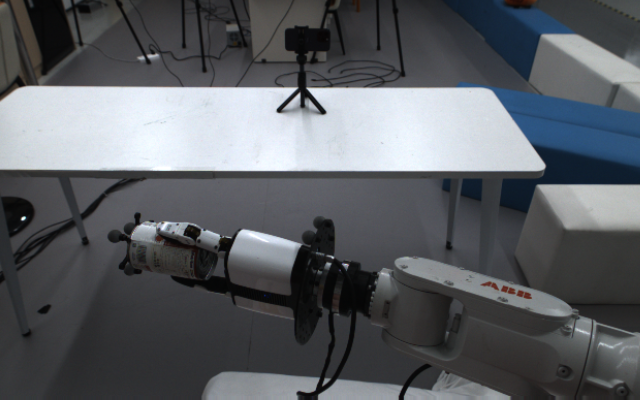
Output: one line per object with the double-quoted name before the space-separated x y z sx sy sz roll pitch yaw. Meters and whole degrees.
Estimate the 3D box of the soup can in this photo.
"soup can" -0.194 0.070 0.651 0.101 0.067 0.067 8 35 10
